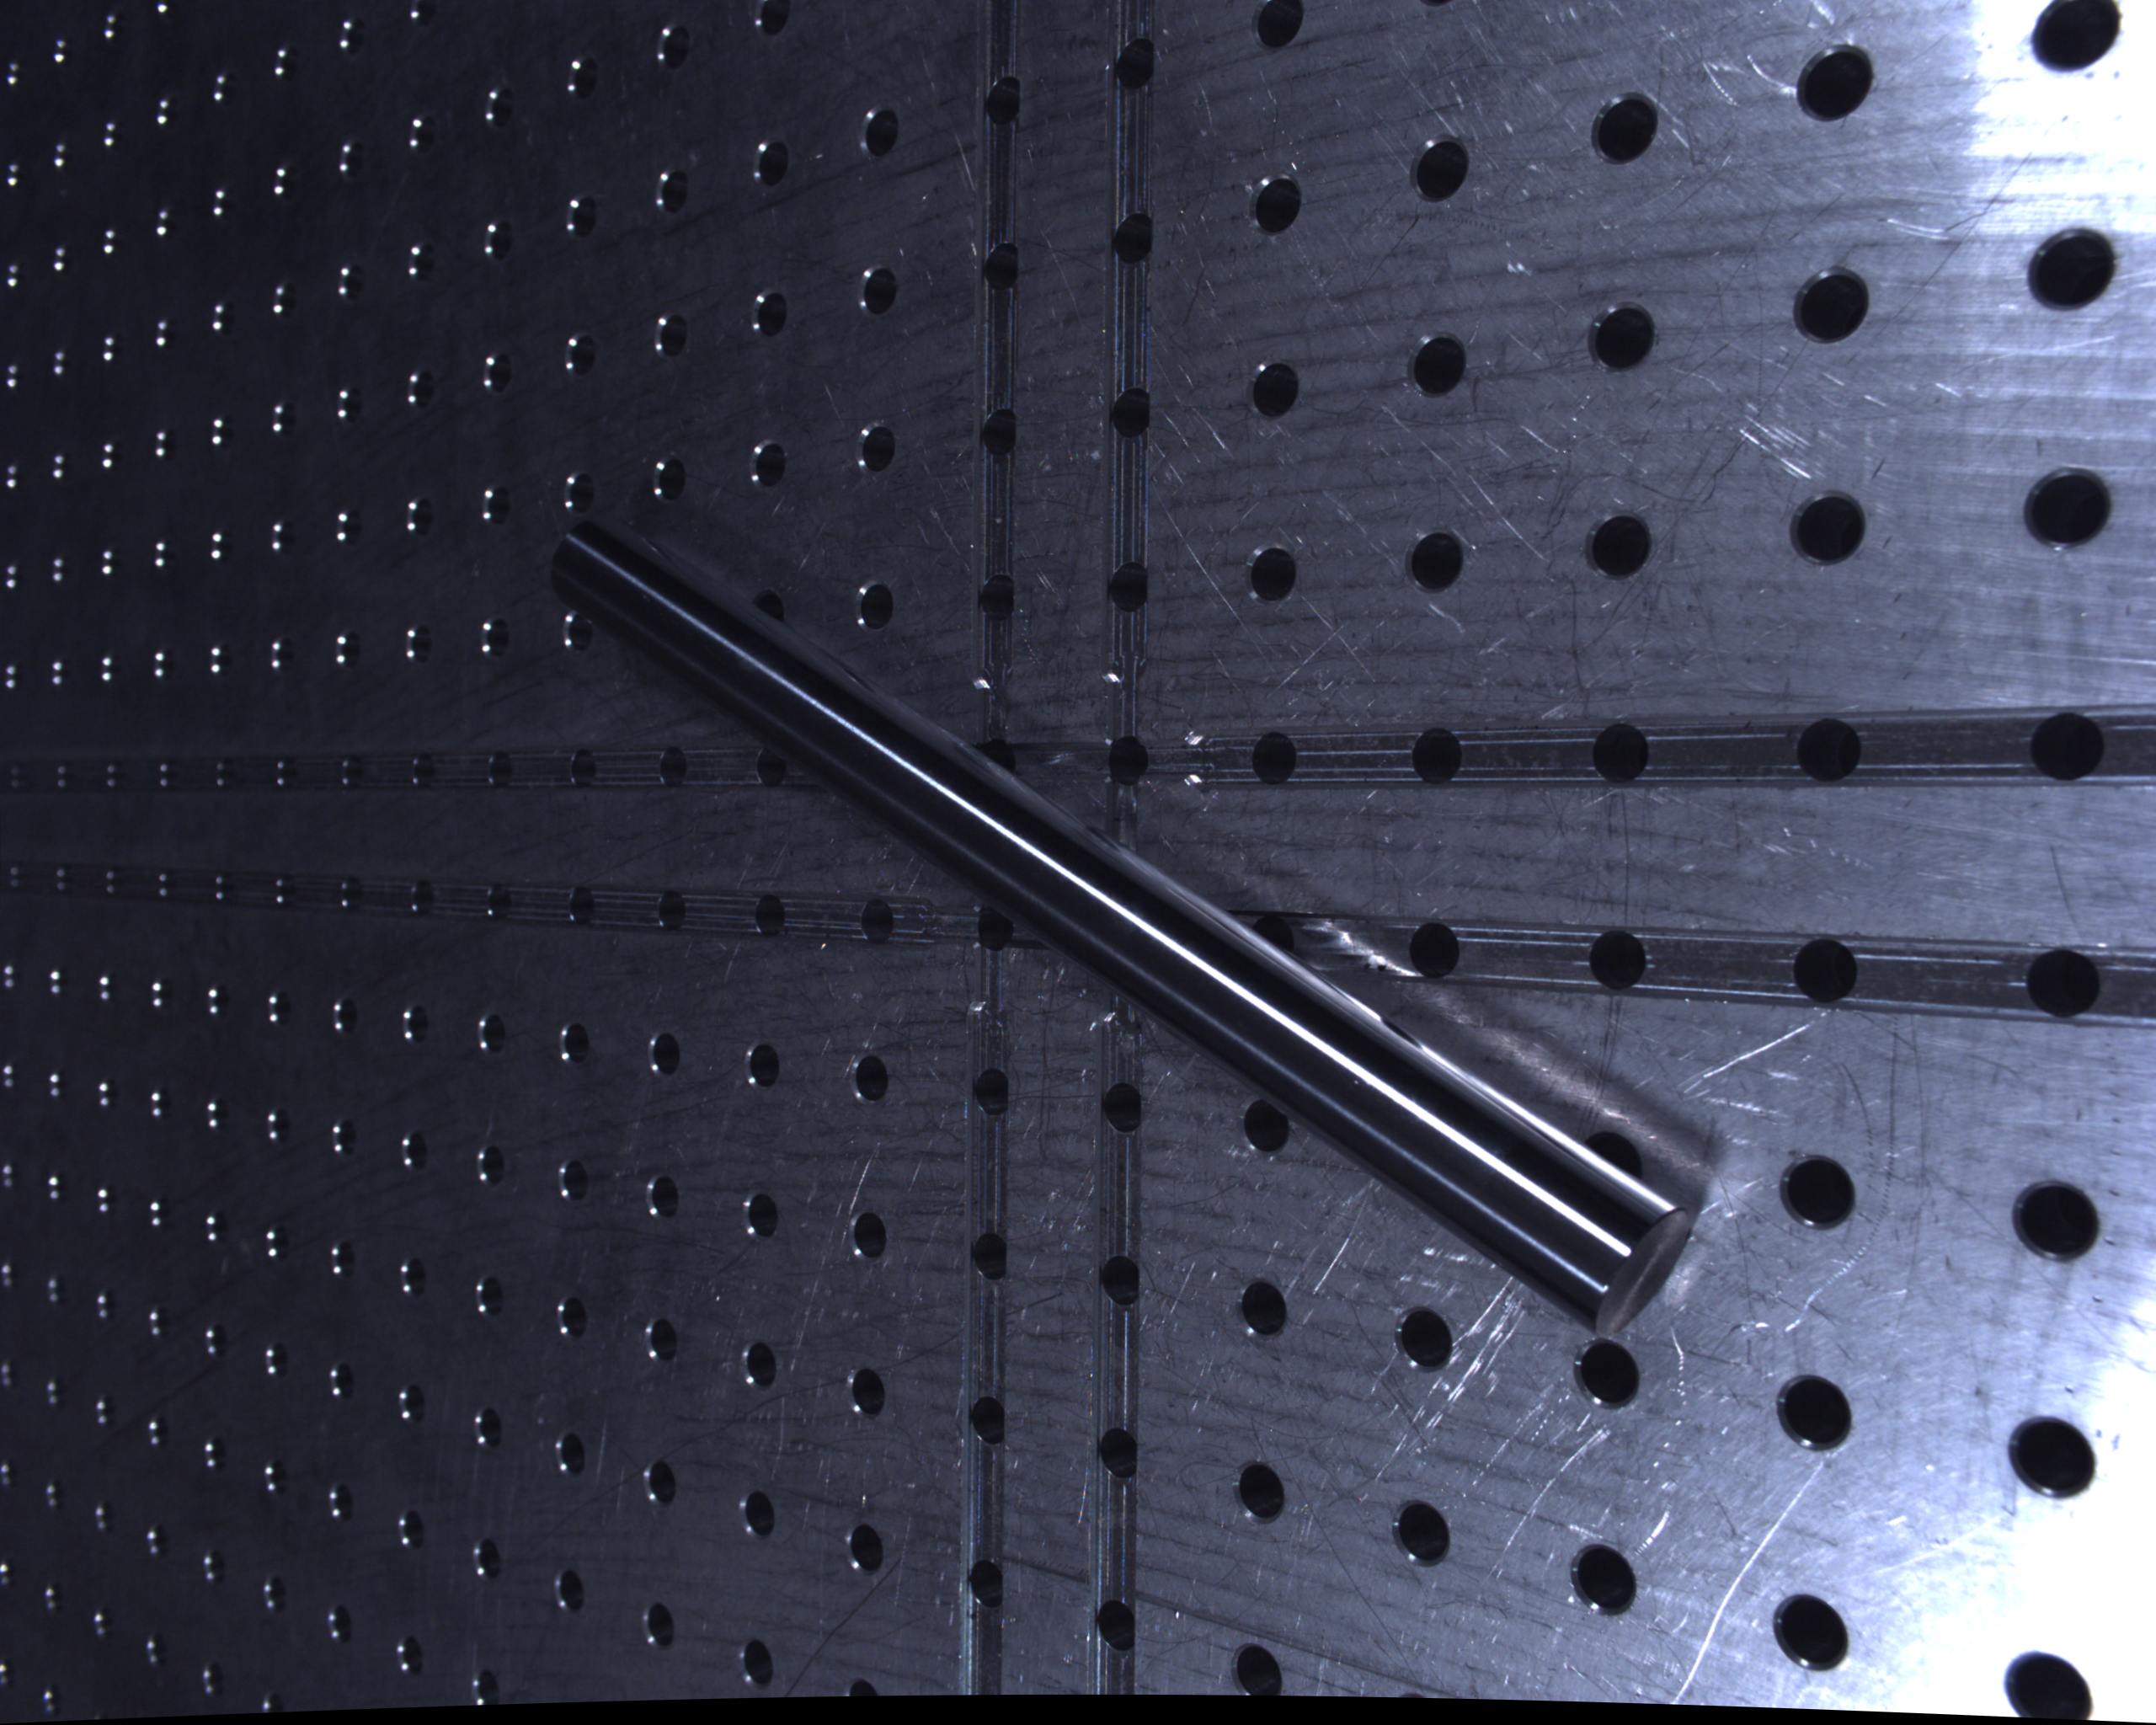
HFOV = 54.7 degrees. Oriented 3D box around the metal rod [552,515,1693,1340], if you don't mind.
[{"bbox_3d":[-0.012,-0.003,0.418,0.300,0.025,0.025,34,111,34],"label":"metal rod"}]
